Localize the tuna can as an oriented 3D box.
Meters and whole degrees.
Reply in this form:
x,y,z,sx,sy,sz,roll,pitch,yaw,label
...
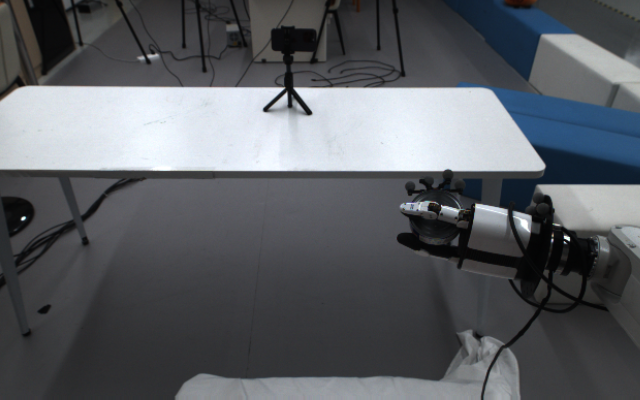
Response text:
x,y,z,sx,sy,sz,roll,pitch,yaw,label
0.184,0.025,0.771,0.085,0.034,0.085,-6,59,11,tuna can
